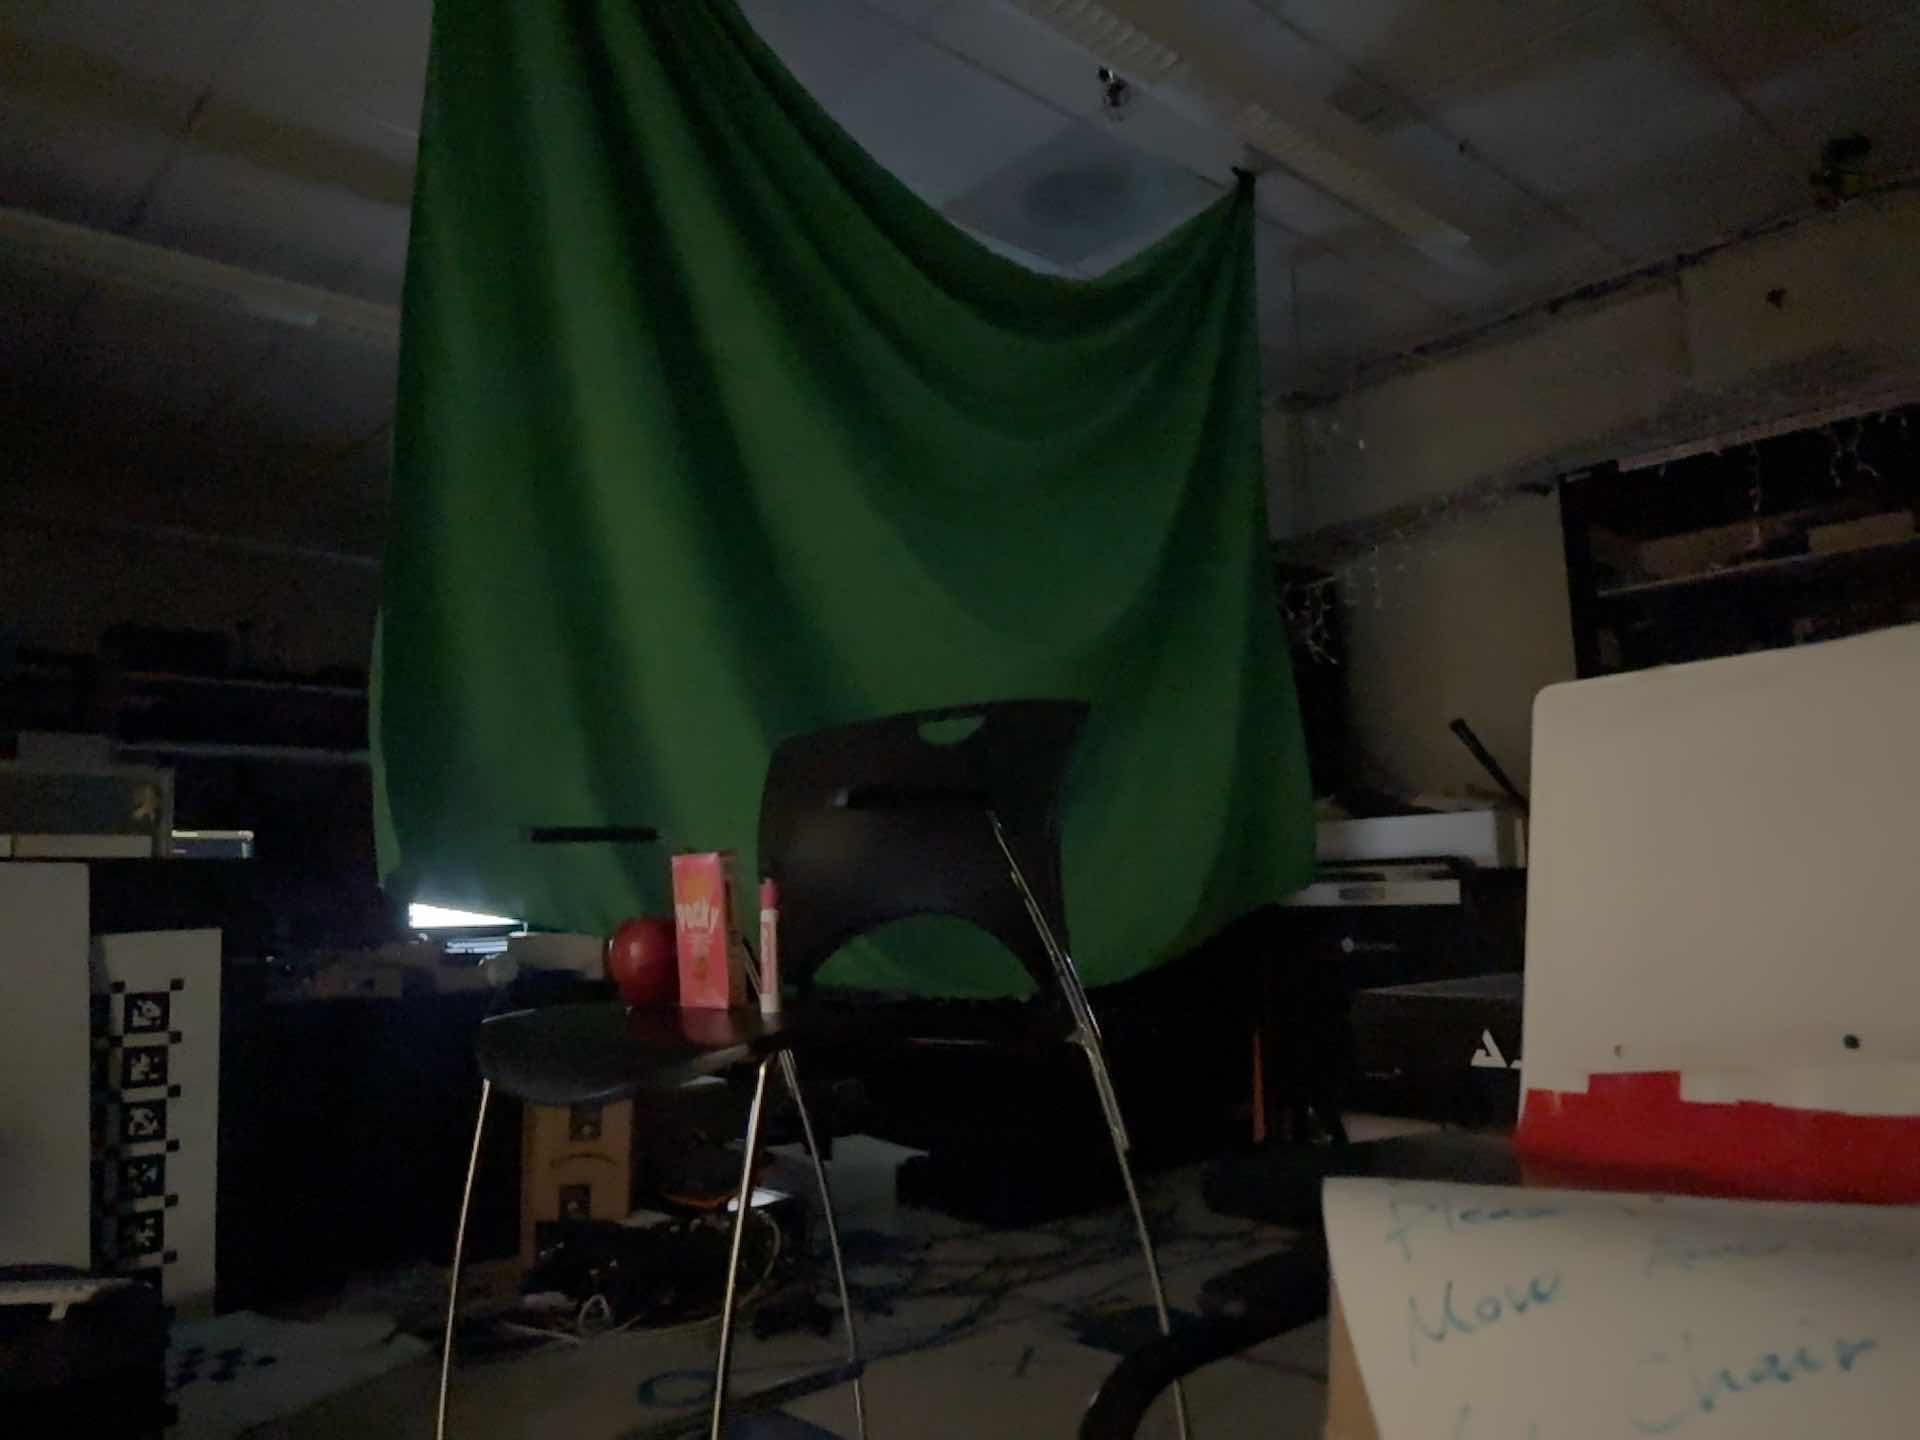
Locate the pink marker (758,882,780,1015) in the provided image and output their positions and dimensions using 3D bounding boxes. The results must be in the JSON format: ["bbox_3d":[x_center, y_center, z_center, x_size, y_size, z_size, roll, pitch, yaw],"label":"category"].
[{"bbox_3d":[-0.177,0.211,1.249,0.020,0.121,0.020,-1,-5,0],"label":"pink marker"}]

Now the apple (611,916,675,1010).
[{"bbox_3d":[-0.318,0.249,1.386,0.079,0.093,0.079,2,-8,0],"label":"apple"}]

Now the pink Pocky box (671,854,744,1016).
[{"bbox_3d":[-0.250,0.210,1.326,0.029,0.155,0.084,1,-5,-44],"label":"pink Pocky box"}]
